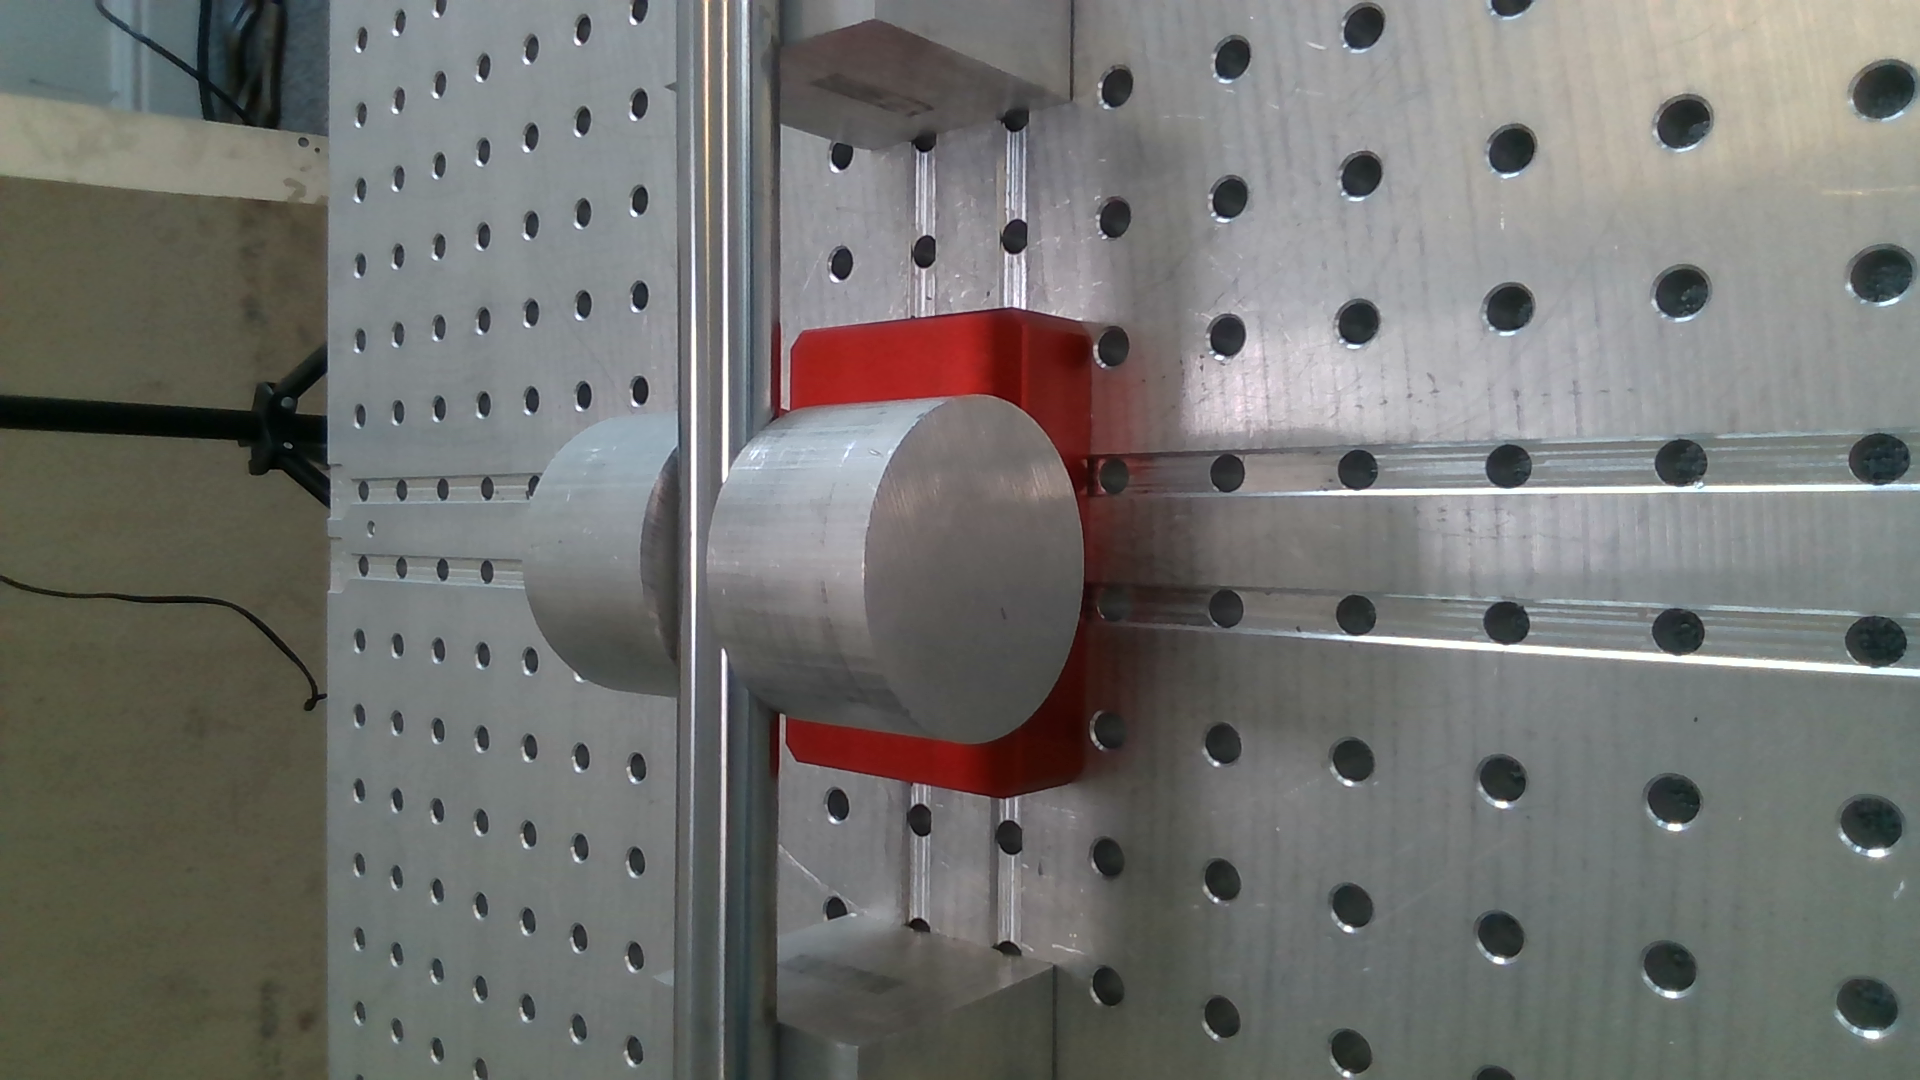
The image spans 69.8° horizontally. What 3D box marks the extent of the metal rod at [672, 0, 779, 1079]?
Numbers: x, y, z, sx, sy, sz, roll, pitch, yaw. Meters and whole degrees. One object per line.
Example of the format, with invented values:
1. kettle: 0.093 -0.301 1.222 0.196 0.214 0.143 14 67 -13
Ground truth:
1. metal rod: -0.057 -0.003 0.337 0.025 0.025 0.300 1 91 40

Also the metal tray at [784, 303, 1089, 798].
1. metal tray: -0.009 0.002 0.398 0.090 0.030 0.130 2 92 40

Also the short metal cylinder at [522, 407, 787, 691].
1. short metal cylinder: -0.071 0.003 0.379 0.050 0.080 0.080 1 91 40

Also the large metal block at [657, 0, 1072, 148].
1. large metal block: -0.025 -0.148 0.376 0.080 0.080 0.050 1 91 40

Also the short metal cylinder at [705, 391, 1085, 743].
1. short metal cylinder: -0.014 0.006 0.330 0.050 0.080 0.080 1 91 40

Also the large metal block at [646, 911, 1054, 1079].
1. large metal block: -0.030 0.144 0.383 0.080 0.080 0.050 1 91 40
